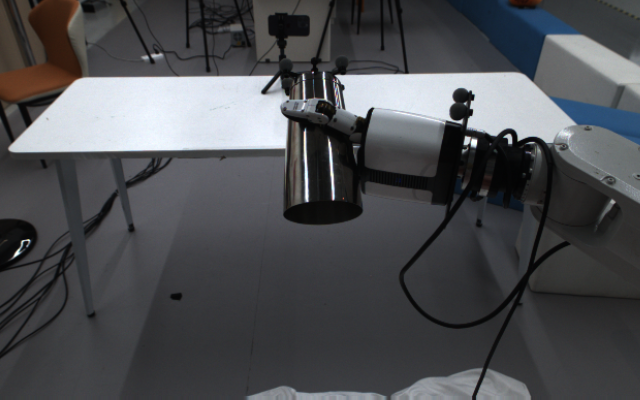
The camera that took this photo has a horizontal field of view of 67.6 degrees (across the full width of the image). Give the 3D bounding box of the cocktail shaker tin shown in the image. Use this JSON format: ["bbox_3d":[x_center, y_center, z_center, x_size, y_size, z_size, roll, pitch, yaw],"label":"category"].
[{"bbox_3d":[0.000,-0.064,0.582,0.093,0.093,0.170,-2,71,-6],"label":"cocktail shaker tin"}]
